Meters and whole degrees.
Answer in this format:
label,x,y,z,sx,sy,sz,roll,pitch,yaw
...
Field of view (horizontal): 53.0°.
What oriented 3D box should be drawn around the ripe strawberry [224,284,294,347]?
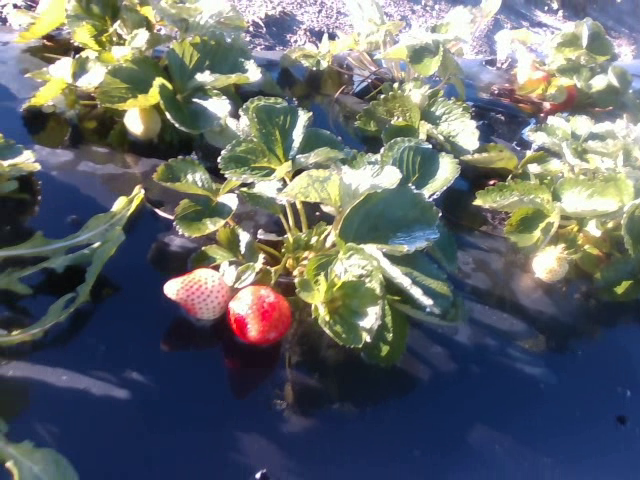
label,x,y,z,sx,sy,sz,roll,pitch,yaw
ripe strawberry,-0.033,0.043,0.350,0.040,0.038,0.055,-16,-2,3
